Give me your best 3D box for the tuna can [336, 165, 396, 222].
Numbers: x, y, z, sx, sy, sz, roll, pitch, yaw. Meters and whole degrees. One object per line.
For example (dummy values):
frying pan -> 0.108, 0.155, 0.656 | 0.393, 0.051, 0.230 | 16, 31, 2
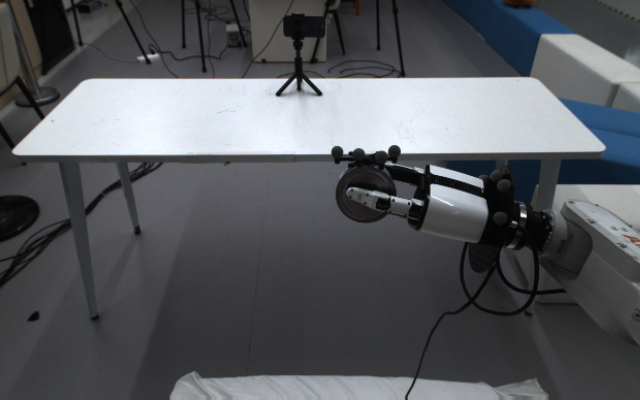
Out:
tuna can -> 0.067, -0.012, 0.696 | 0.085, 0.085, 0.034 | 4, 17, 3
